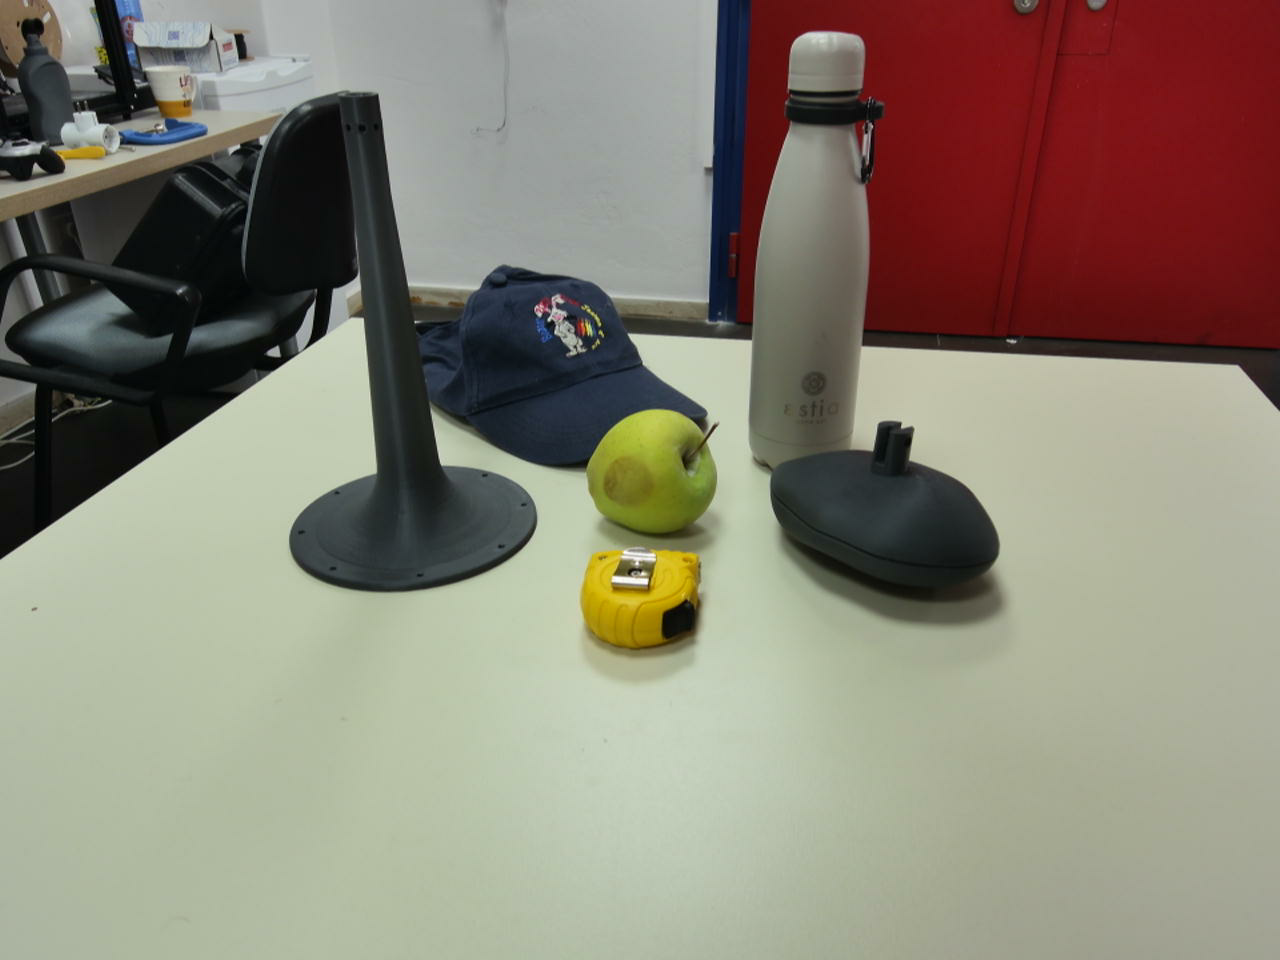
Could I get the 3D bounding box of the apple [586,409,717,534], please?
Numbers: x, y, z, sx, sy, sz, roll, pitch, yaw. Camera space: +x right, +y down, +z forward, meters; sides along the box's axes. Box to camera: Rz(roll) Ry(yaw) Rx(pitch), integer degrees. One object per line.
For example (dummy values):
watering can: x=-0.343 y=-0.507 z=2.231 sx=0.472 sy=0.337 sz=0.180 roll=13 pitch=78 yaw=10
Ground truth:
apple: x=0.008 y=-0.006 z=0.612 sx=0.072 sy=0.075 sz=0.077 roll=-19 pitch=31 yaw=-30
